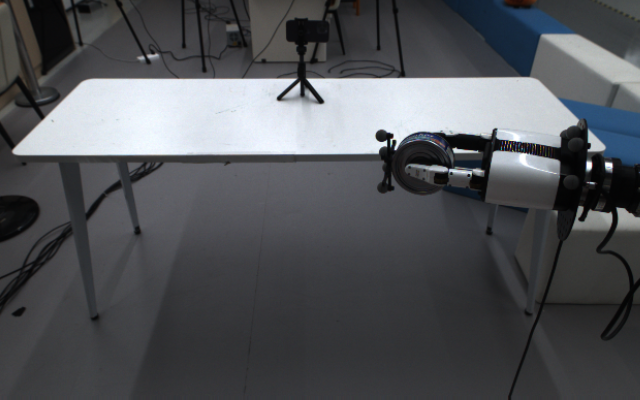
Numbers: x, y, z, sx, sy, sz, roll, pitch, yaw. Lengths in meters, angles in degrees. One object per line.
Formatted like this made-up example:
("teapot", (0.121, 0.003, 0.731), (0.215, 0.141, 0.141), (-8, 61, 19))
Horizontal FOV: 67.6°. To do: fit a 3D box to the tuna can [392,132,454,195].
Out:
("tuna can", (0.146, -0.056, 0.687), (0.085, 0.085, 0.034), (12, 27, 14))
